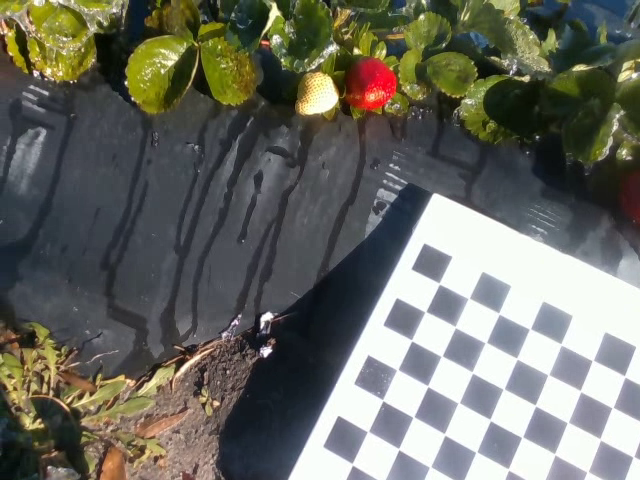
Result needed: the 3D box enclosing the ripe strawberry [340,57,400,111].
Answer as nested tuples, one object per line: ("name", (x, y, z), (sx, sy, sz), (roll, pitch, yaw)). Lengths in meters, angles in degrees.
("ripe strawberry", (0.040, -0.117, 0.477), (0.042, 0.046, 0.061), (13, 33, 5))
